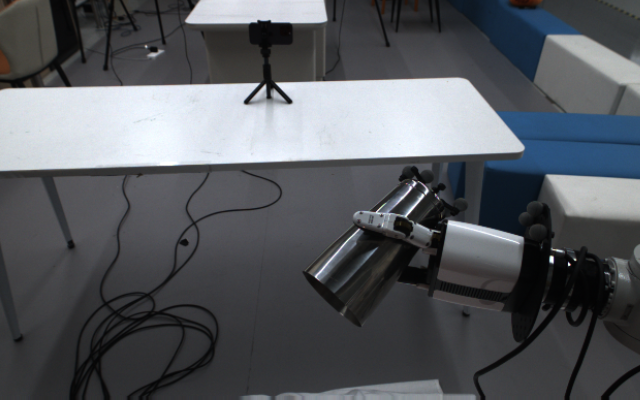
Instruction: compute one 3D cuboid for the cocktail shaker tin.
[{"bbox_3d":[0.071,0.051,0.576,0.170,0.093,0.093,-43,50,-15],"label":"cocktail shaker tin"}]
